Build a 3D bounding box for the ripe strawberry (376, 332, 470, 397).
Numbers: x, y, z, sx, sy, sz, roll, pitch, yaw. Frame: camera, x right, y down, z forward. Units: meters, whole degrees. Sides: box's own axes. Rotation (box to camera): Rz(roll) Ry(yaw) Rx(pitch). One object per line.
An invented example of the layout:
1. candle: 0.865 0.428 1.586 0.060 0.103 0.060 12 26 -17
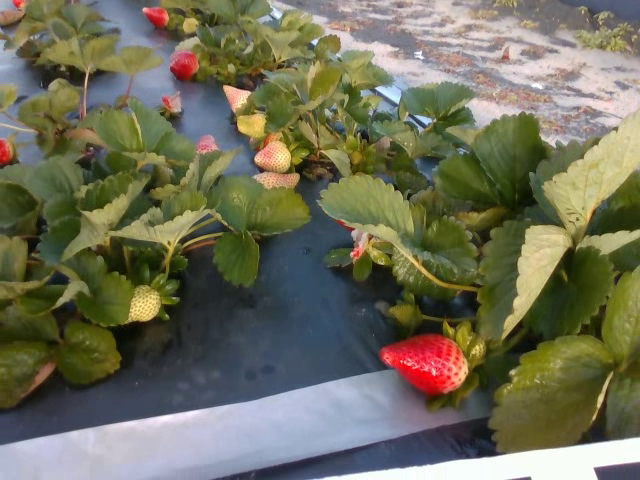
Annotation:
1. ripe strawberry: 0.051 0.061 0.305 0.055 0.036 0.050 -1 38 -6
